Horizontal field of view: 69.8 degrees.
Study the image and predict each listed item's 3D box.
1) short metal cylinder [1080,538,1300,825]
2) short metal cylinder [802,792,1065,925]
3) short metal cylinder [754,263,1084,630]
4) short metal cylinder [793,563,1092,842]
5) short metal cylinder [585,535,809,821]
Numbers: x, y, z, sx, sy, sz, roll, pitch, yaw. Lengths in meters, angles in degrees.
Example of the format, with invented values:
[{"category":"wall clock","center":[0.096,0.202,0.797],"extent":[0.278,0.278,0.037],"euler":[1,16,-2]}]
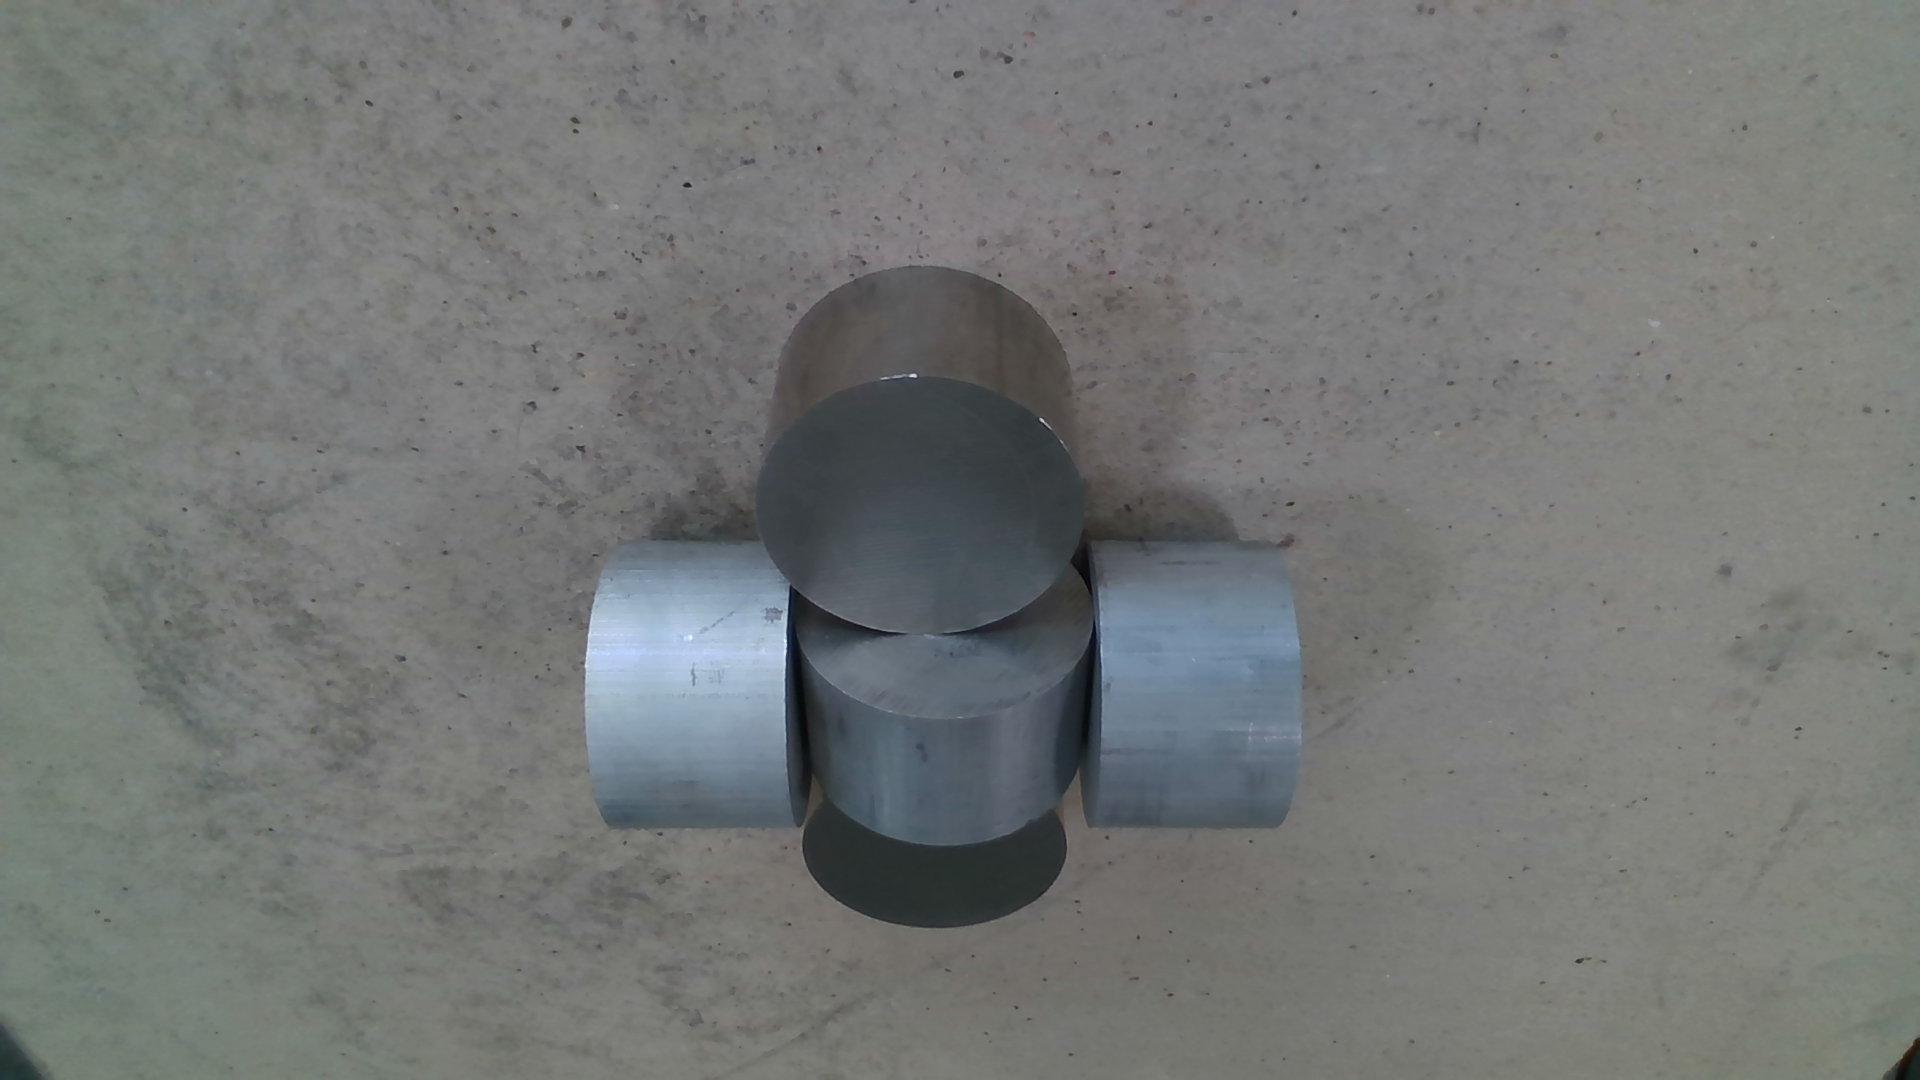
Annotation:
[{"category":"short metal cylinder","center":[0.061,0.039,0.387],"extent":[0.050,0.080,0.080],"euler":[0,130,0]},{"category":"short metal cylinder","center":[-0.008,0.078,0.438],"extent":[0.080,0.050,0.080],"euler":[0,130,0]},{"category":"short metal cylinder","center":[-0.010,-0.023,0.353],"extent":[0.080,0.050,0.080],"euler":[0,131,0]},{"category":"short metal cylinder","center":[-0.005,0.037,0.385],"extent":[0.080,0.080,0.050],"euler":[0,130,0]},{"category":"short metal cylinder","center":[-0.070,0.039,0.387],"extent":[0.050,0.080,0.080],"euler":[0,130,0]}]
